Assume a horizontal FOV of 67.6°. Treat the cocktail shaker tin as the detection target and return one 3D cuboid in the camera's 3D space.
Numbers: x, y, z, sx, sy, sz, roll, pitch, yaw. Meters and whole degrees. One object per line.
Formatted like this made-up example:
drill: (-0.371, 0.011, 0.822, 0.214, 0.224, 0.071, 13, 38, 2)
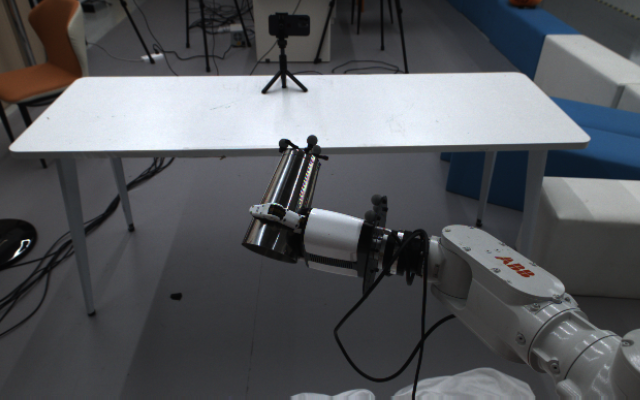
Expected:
cocktail shaker tin: (-0.058, 0.007, 0.782, 0.093, 0.093, 0.170, 14, 72, 16)
